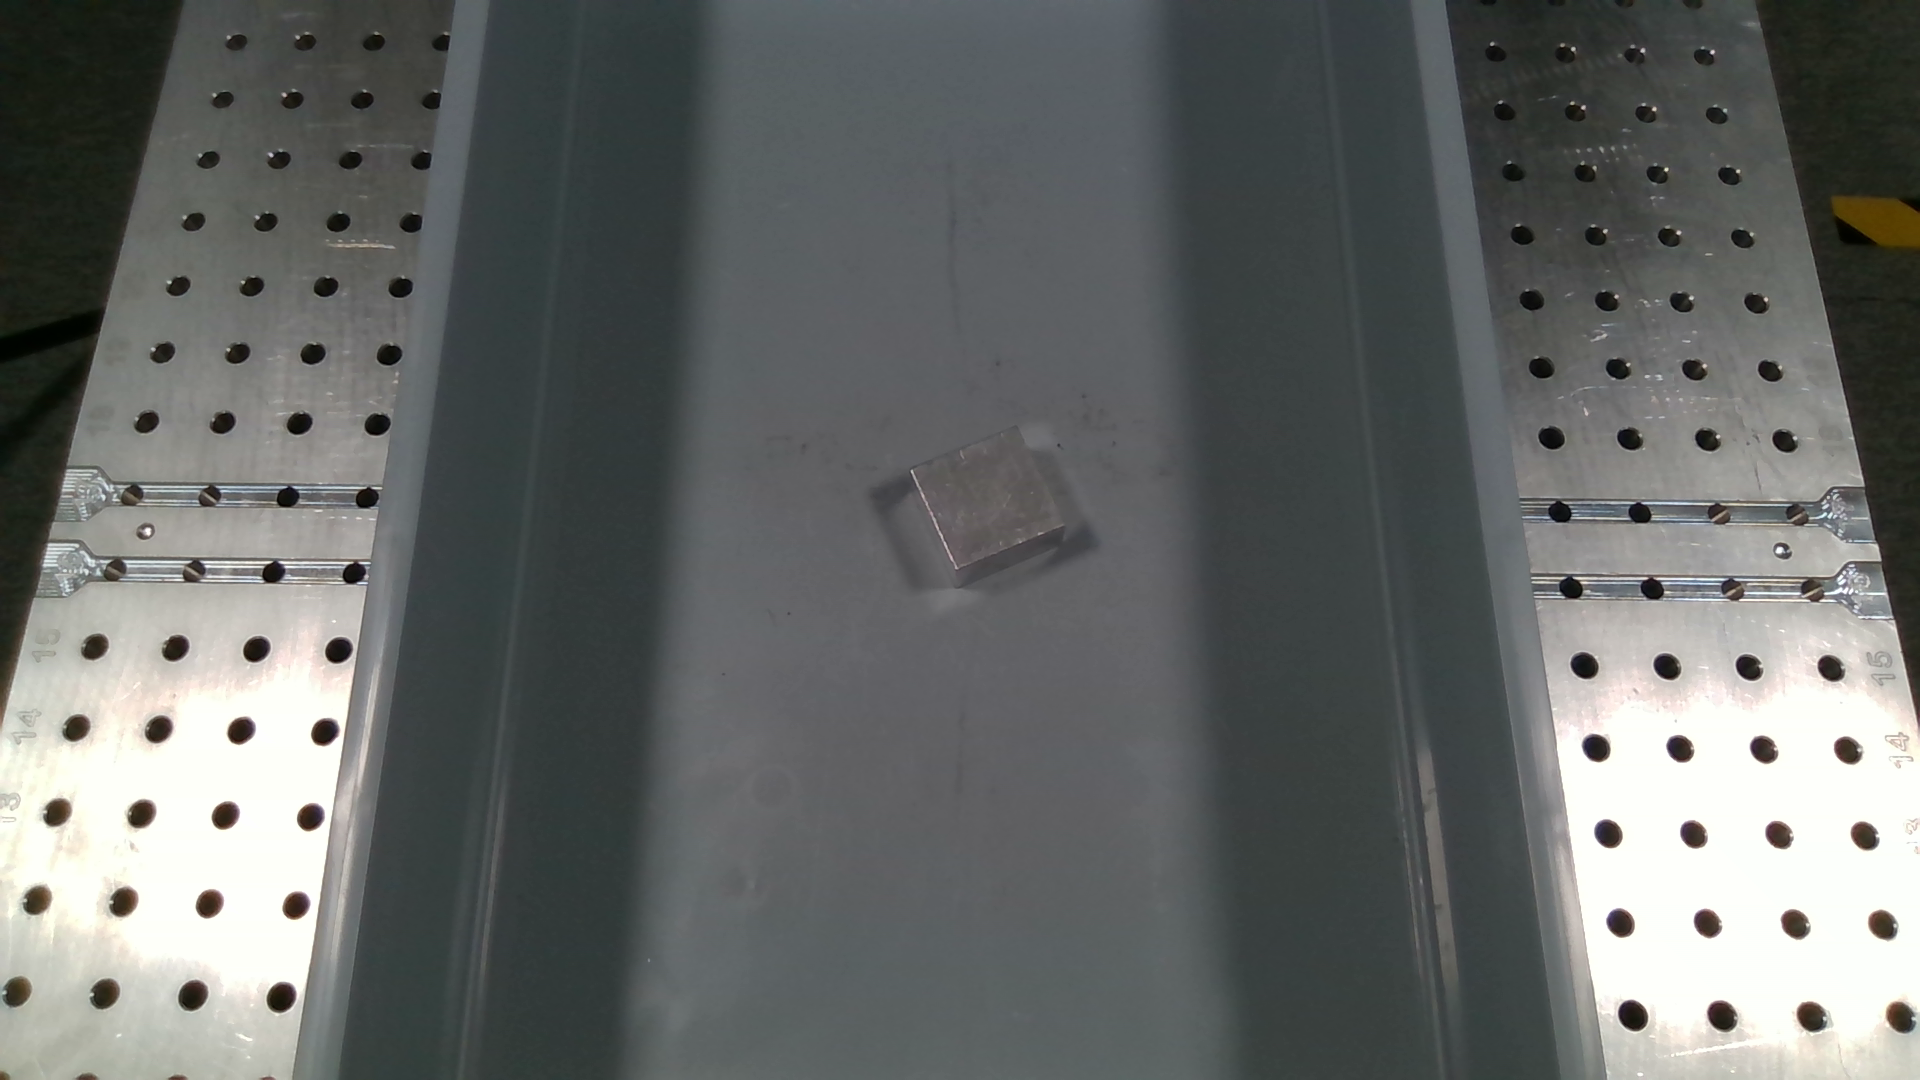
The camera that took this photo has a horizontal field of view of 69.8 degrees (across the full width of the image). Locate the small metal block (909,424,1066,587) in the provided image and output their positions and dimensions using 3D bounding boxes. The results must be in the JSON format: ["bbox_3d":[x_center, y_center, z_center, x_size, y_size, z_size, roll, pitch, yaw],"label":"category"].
[{"bbox_3d":[0.011,-0.014,0.590,0.050,0.025,0.050,-22,72,-8],"label":"small metal block"}]
